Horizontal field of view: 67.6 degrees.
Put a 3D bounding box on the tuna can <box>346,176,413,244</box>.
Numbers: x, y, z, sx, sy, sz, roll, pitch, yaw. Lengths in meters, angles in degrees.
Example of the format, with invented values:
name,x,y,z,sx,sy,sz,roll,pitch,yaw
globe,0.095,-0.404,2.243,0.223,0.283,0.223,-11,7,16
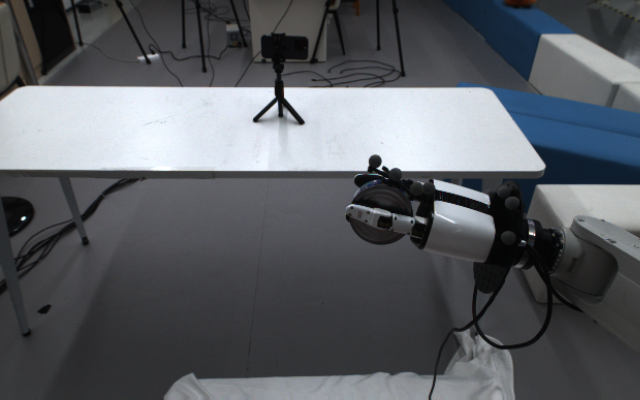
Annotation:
name,x,y,z,sx,sy,sz,roll,pitch,yaw
tuna can,0.085,0.014,0.663,0.085,0.085,0.034,7,17,7
